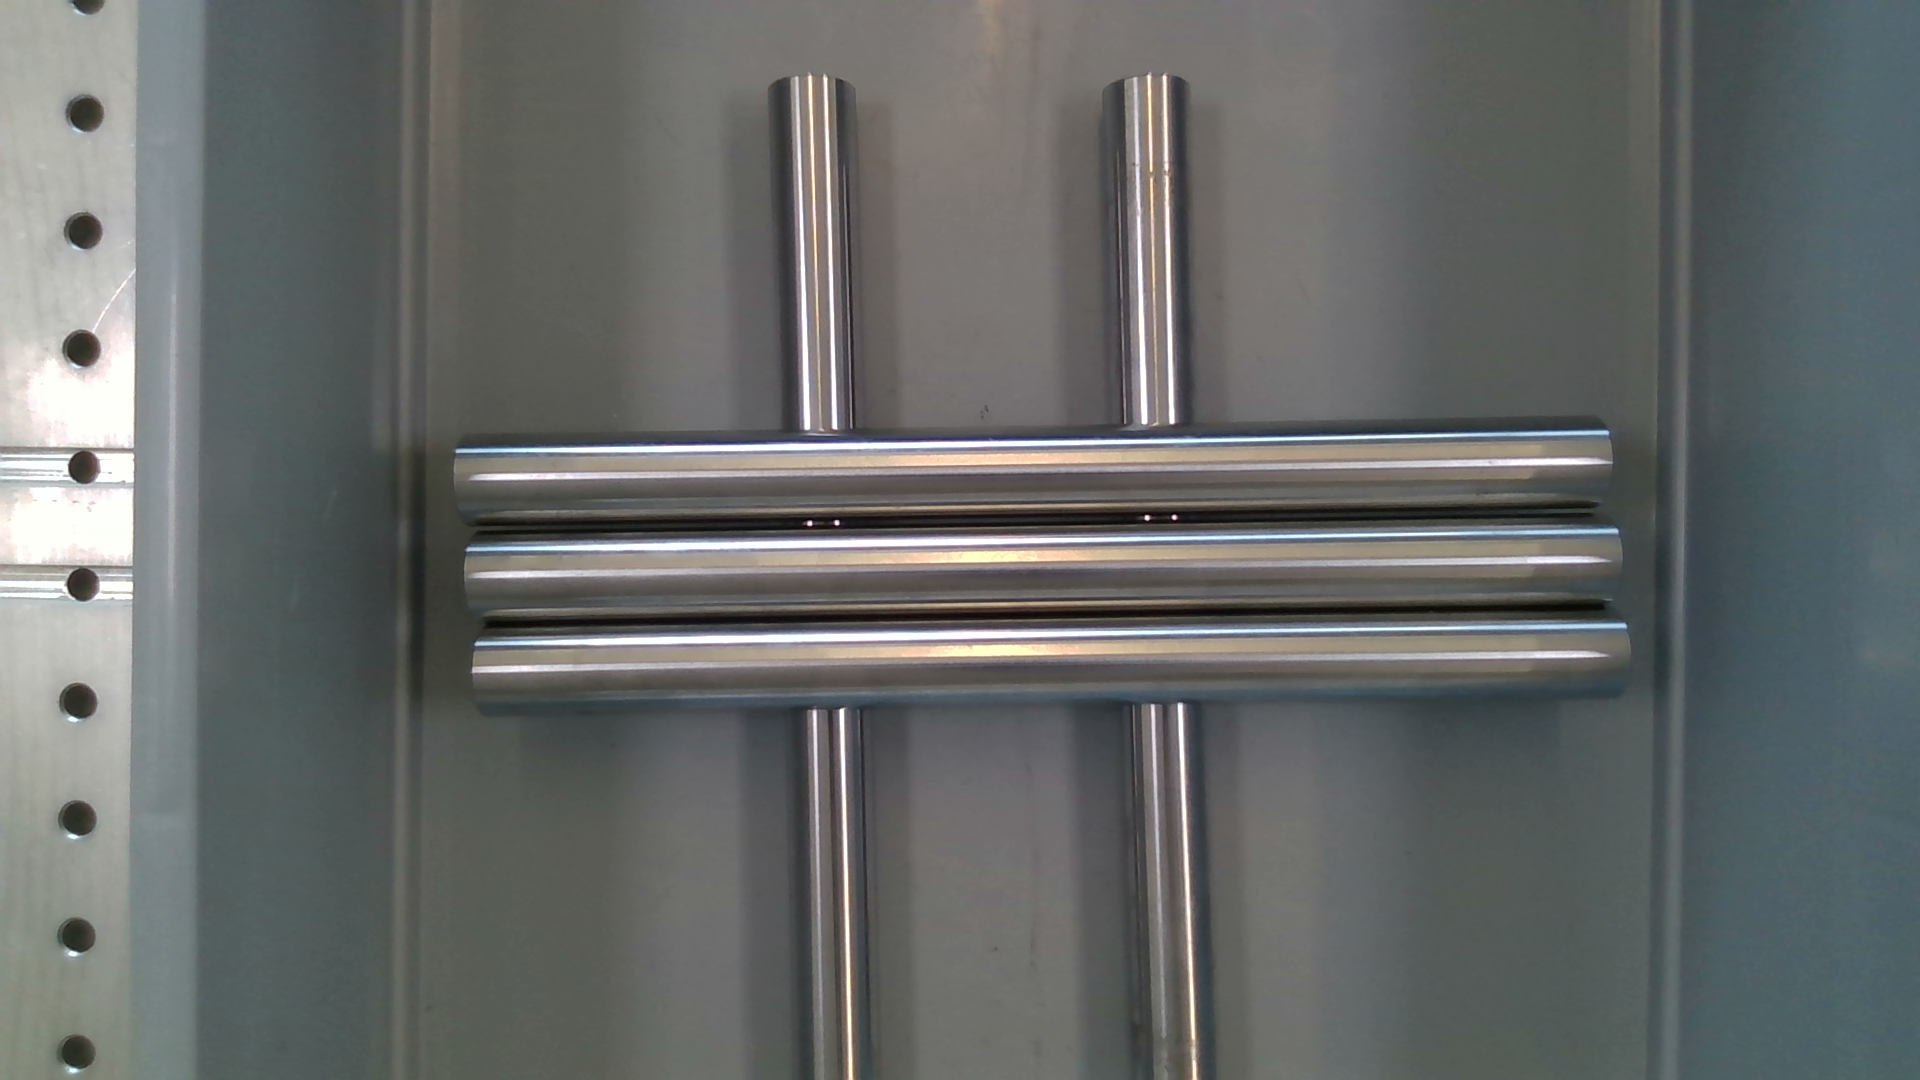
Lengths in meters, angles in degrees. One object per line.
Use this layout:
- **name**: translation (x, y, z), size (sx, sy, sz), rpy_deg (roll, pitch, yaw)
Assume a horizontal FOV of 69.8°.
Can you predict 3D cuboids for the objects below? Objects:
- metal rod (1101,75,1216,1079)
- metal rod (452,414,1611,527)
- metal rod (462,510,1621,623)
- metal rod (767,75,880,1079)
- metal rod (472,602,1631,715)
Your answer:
- **metal rod**: translation (0.057, 0.021, 0.395), size (0.025, 0.025, 0.300), rpy_deg (-2, 90, 0)
- **metal rod**: translation (0.019, -0.018, 0.369), size (0.300, 0.025, 0.025), rpy_deg (-1, 90, 0)
- **metal rod**: translation (0.021, 0.007, 0.369), size (0.300, 0.025, 0.025), rpy_deg (-1, 90, 0)
- **metal rod**: translation (-0.039, 0.021, 0.395), size (0.025, 0.025, 0.300), rpy_deg (-1, 90, 0)
- **metal rod**: translation (0.024, 0.032, 0.369), size (0.300, 0.025, 0.025), rpy_deg (-1, 90, 0)
